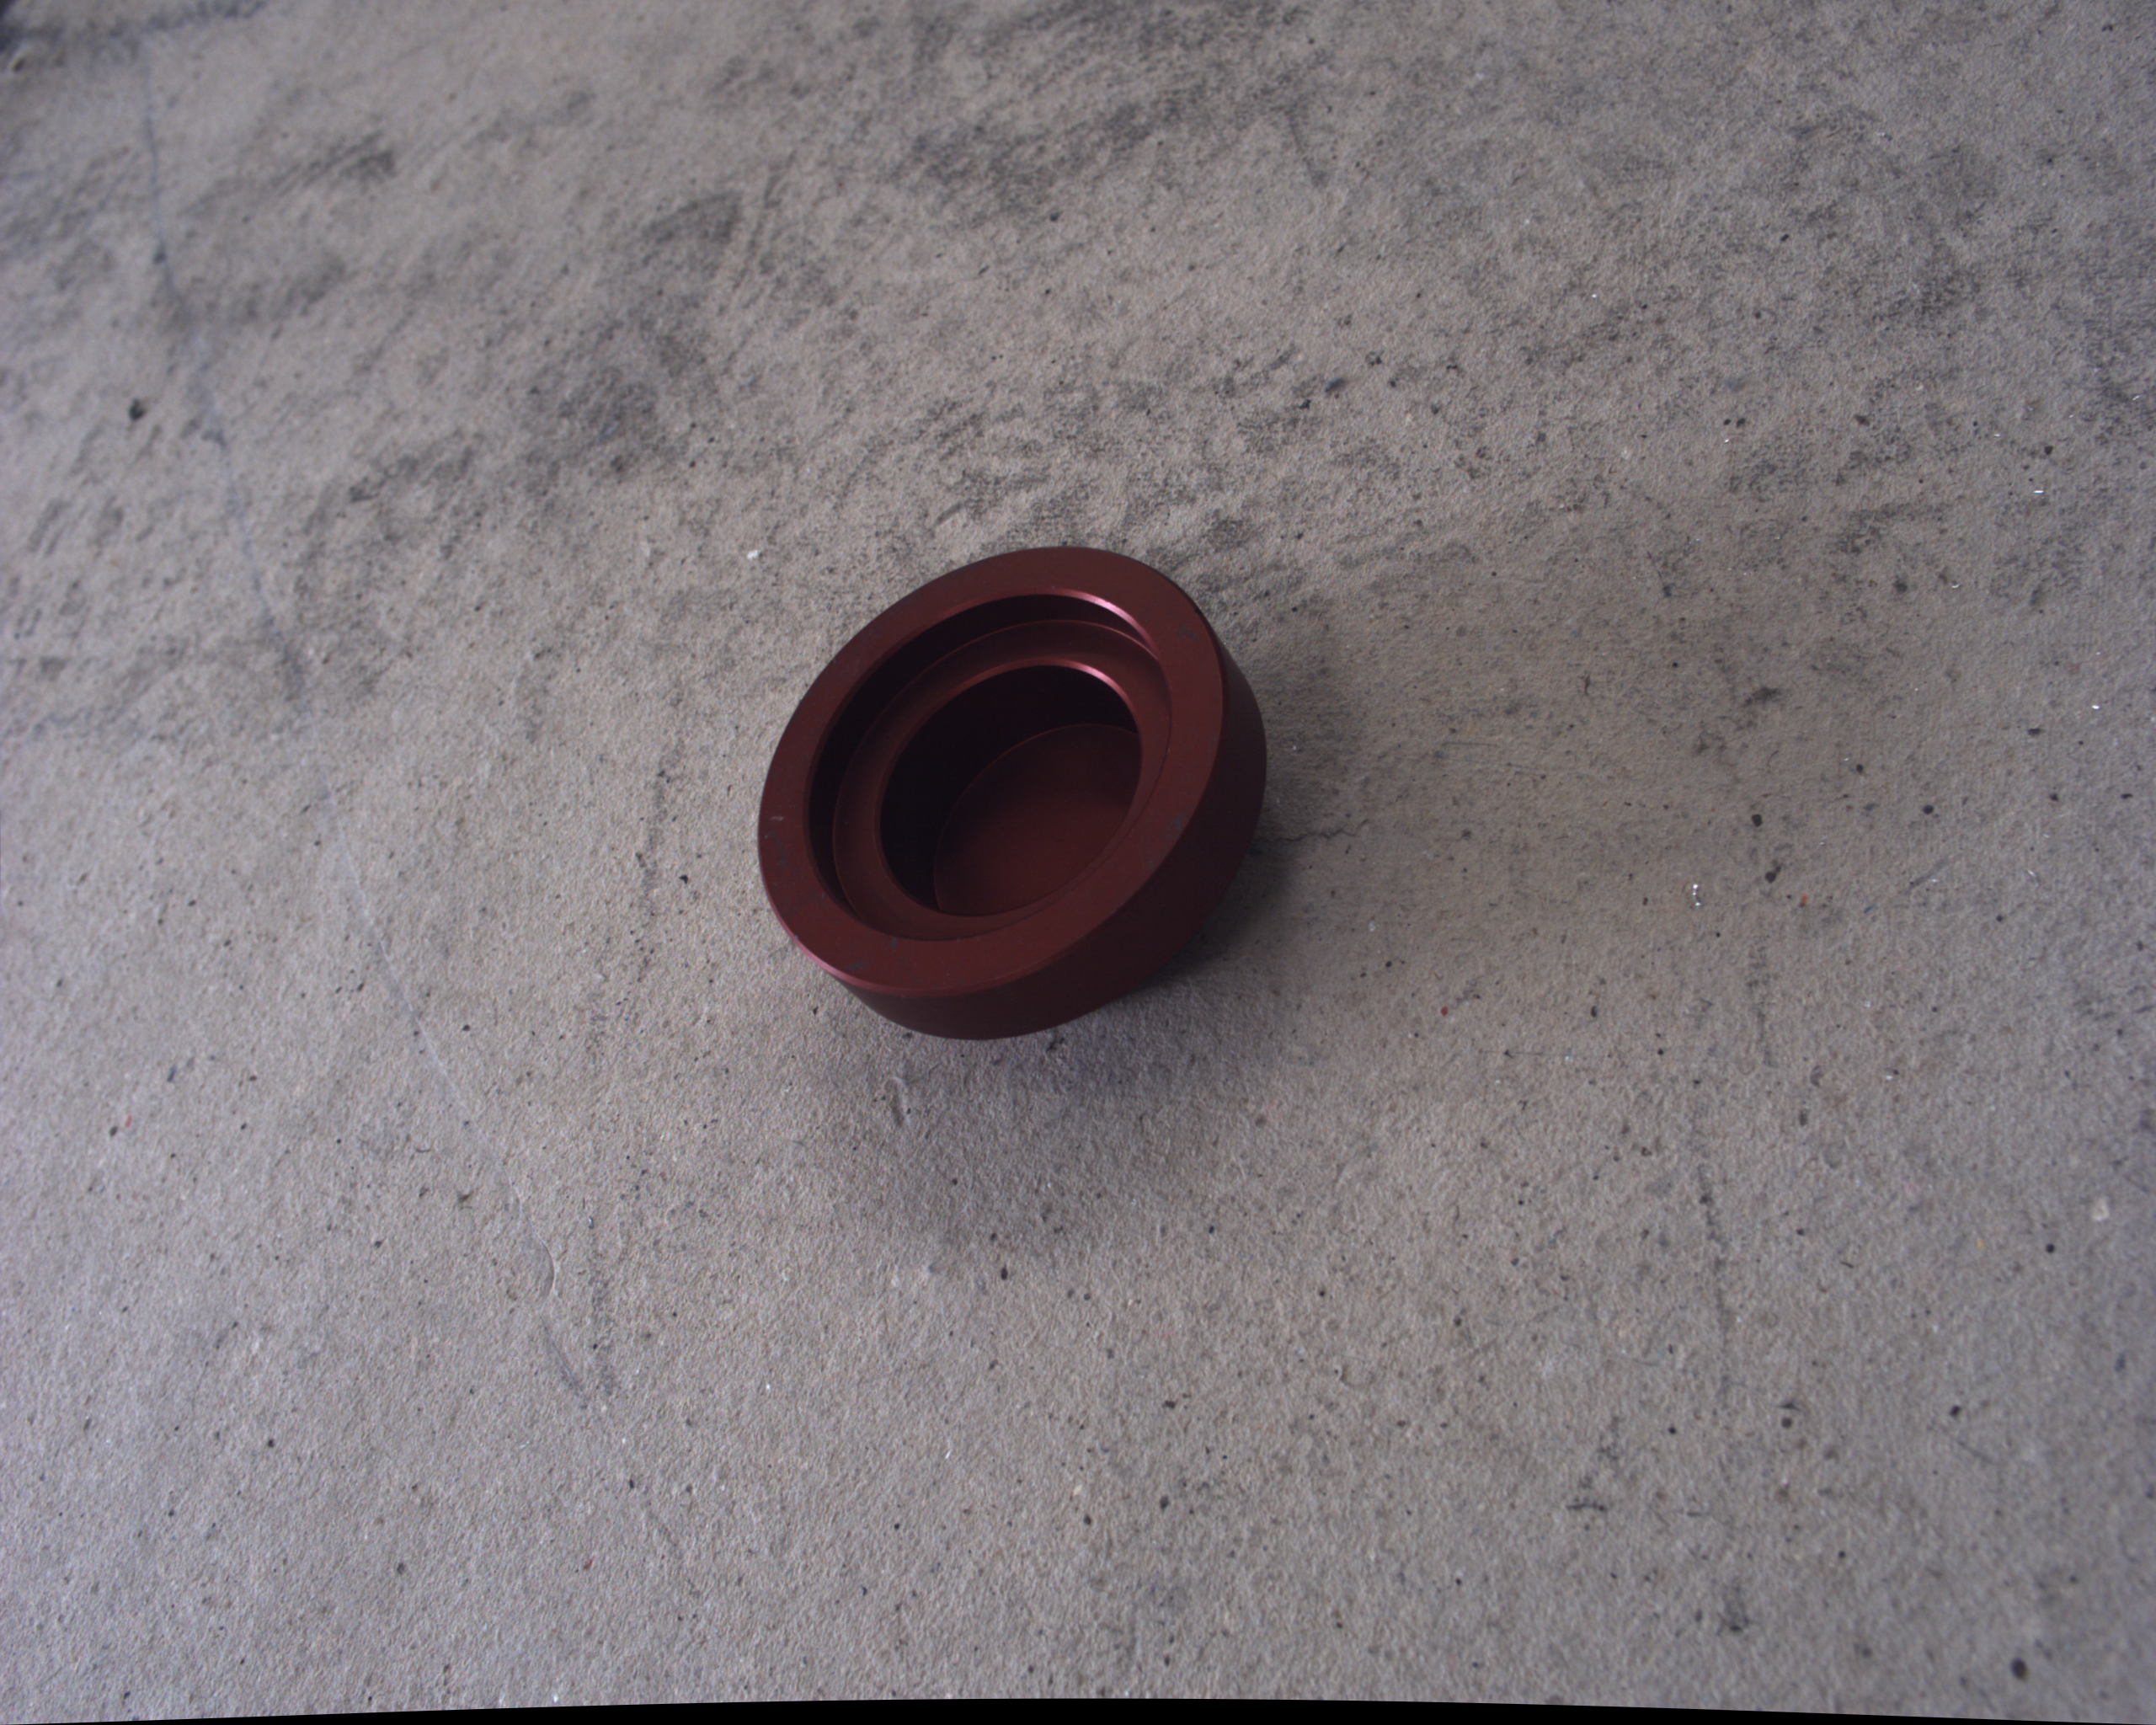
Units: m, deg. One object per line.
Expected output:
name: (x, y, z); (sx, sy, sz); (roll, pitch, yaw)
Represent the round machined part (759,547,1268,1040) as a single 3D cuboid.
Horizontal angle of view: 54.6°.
round machined part: (-0.009, -0.010, 0.406); (0.098, 0.042, 0.098); (-13, 56, 21)
